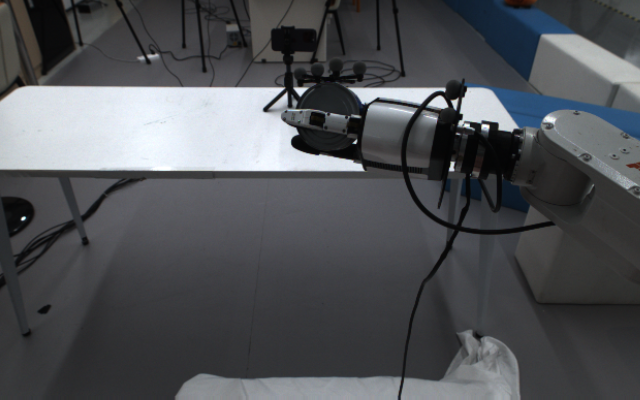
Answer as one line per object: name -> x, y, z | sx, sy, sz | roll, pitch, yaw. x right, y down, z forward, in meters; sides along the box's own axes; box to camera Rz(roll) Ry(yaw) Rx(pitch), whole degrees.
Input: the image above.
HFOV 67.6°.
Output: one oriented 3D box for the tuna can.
tuna can -> 0.014, -0.107, 0.623 | 0.085, 0.085, 0.034 | 15, 10, 18
